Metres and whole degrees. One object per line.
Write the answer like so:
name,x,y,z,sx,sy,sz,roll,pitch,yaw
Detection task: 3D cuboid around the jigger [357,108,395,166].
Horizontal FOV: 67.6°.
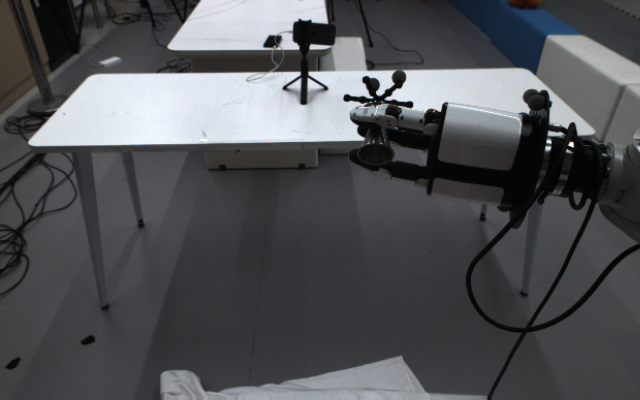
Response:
jigger,0.069,-0.083,0.596,0.043,0.043,0.071,4,61,3
